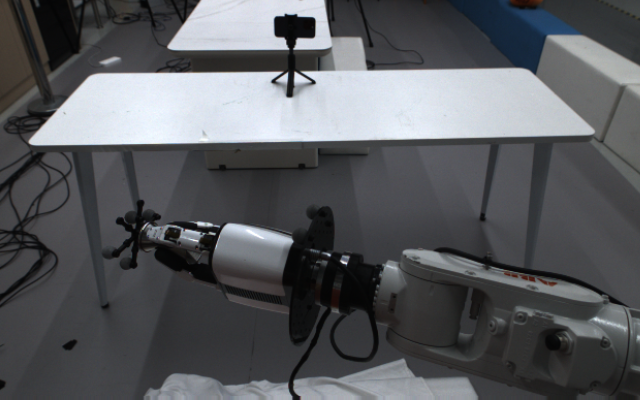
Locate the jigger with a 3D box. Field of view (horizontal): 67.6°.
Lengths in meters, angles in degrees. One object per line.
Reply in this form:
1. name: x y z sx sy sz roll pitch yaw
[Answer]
1. jigger: -0.177 0.048 0.596 0.071 0.043 0.043 10 35 16
